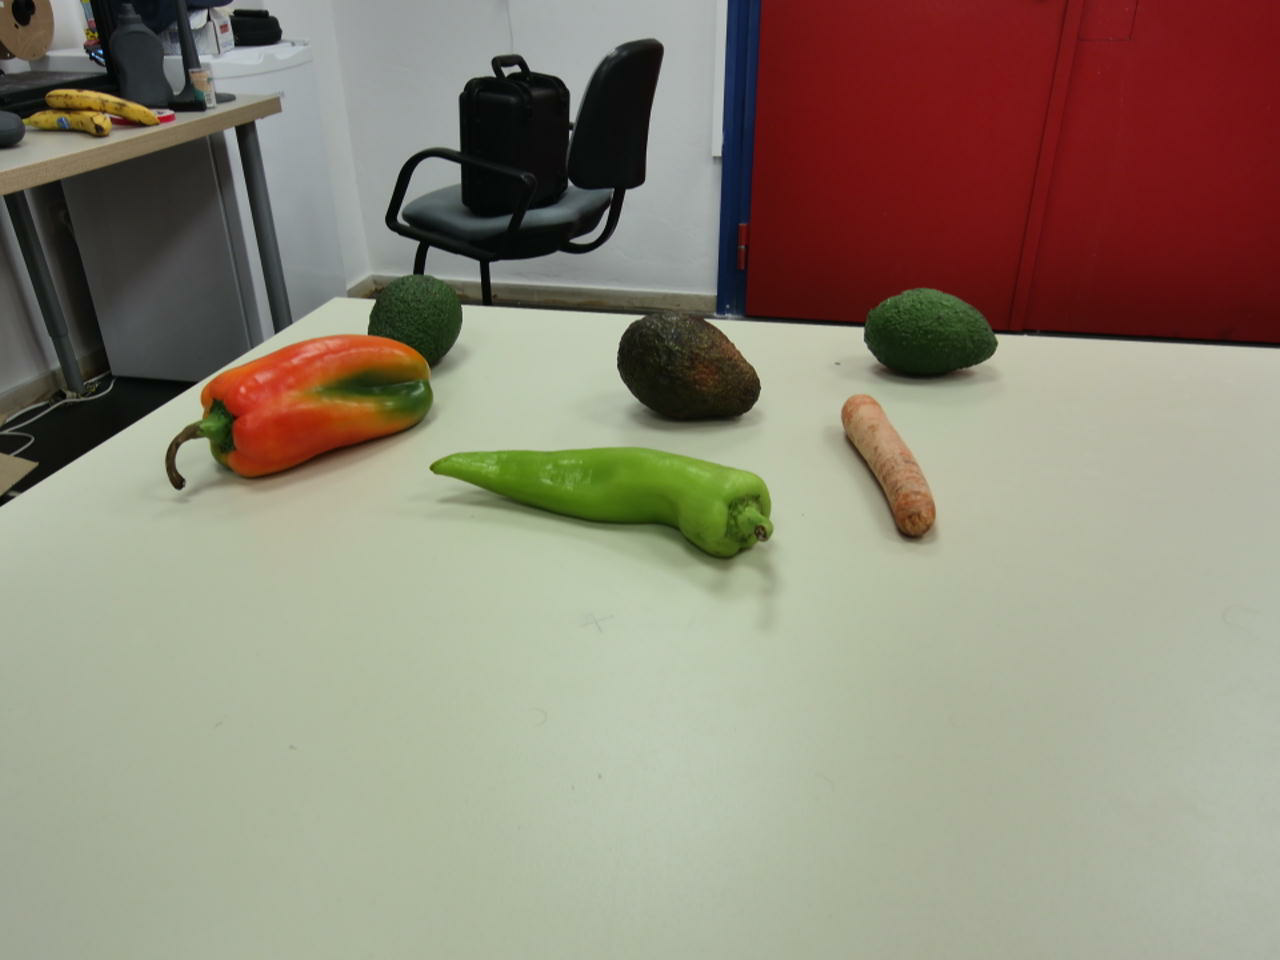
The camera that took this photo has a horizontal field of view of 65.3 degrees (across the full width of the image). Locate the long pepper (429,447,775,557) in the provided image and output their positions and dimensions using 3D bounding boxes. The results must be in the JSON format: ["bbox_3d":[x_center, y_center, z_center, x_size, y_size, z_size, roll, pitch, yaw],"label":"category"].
[{"bbox_3d":[-0.014,0.003,0.540,0.205,0.045,0.065,13,29,26],"label":"long pepper"}]
